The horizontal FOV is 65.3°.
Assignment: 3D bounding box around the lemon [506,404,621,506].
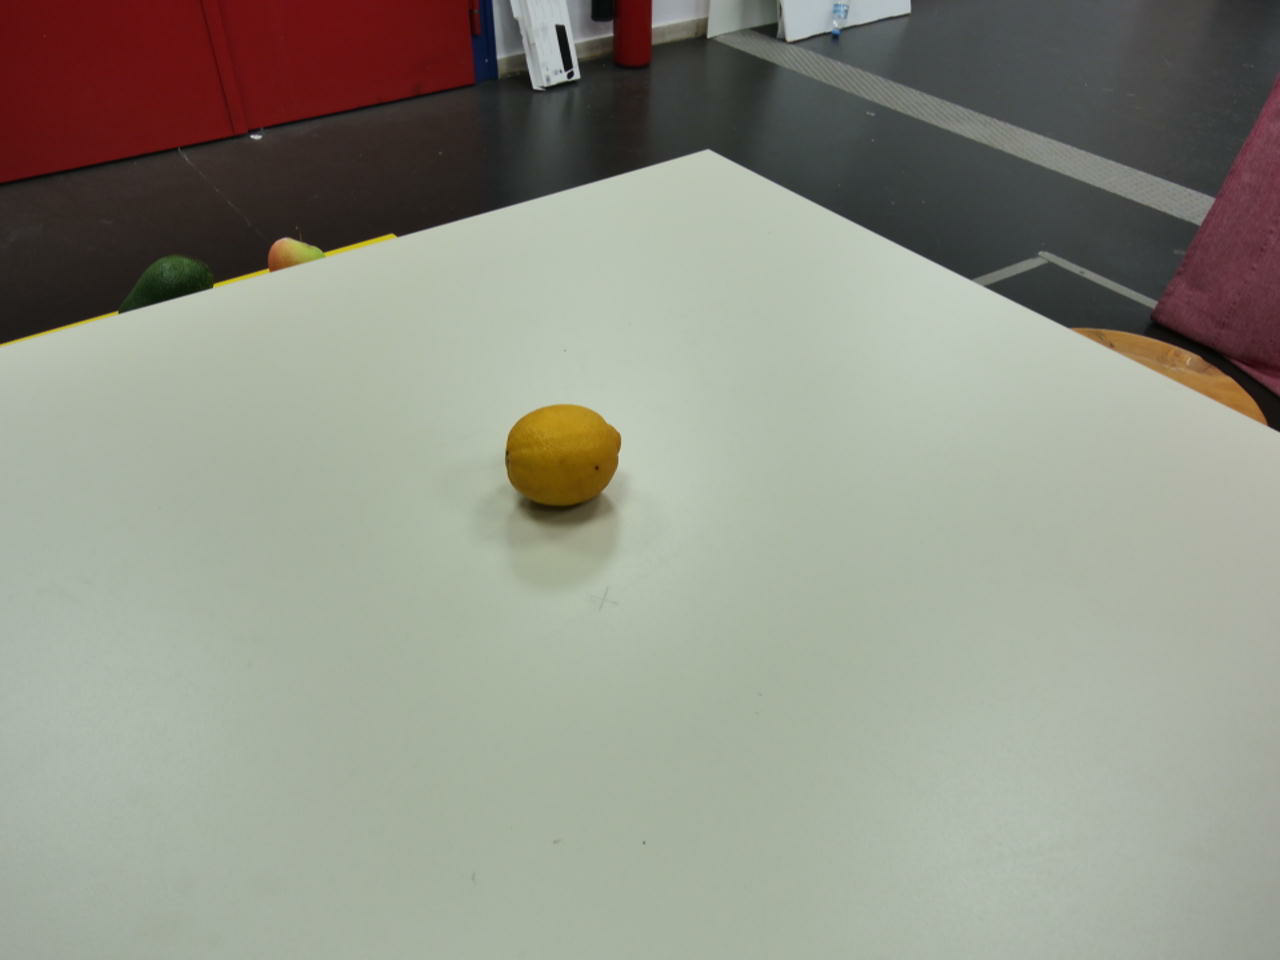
[{"bbox_3d":[-0.046,-0.014,0.586,0.067,0.059,0.060,4,38,4],"label":"lemon"}]
